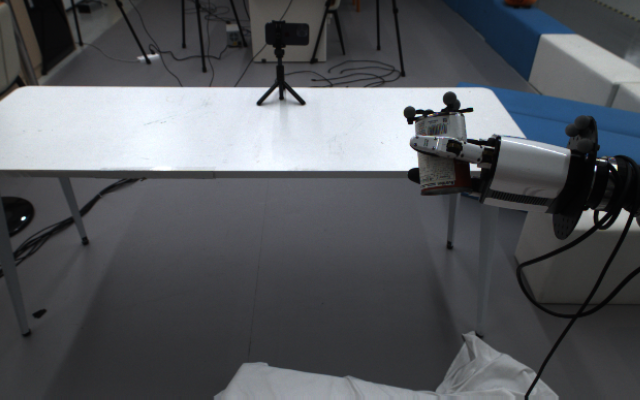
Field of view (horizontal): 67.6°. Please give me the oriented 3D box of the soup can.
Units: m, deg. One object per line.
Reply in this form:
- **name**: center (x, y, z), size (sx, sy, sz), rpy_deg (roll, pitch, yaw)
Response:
- **soup can**: center (0.167, -0.061, 0.652), size (0.067, 0.101, 0.067), rpy_deg (-5, -5, 0)
